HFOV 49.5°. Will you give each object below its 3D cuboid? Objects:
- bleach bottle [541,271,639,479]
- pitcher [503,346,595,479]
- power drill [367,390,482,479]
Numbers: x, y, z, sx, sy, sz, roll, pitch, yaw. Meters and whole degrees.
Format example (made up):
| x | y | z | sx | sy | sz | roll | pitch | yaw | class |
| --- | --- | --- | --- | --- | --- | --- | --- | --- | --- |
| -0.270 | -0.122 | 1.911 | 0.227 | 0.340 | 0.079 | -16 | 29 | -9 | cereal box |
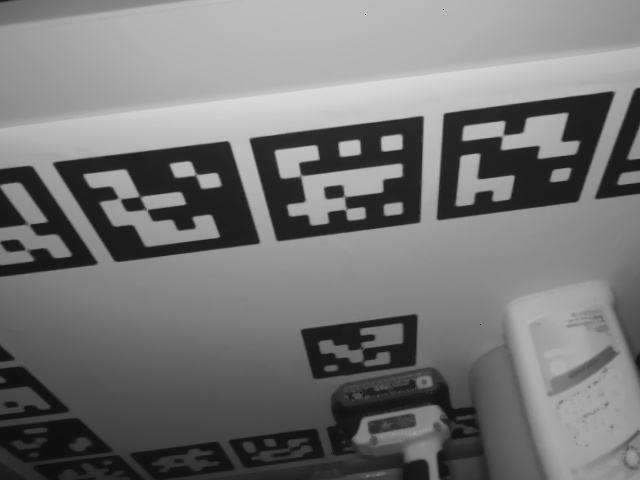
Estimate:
| x | y | z | sx | sy | sz | roll | pitch | yaw | class |
| --- | --- | --- | --- | --- | --- | --- | --- | --- | --- |
| 0.241 | 0.144 | 0.492 | 0.102 | 0.252 | 0.068 | -16 | 137 | 9 | bleach bottle |
| 0.246 | 0.196 | 0.582 | 0.186 | 0.244 | 0.134 | -30 | 132 | 23 | pitcher |
| 0.084 | 0.231 | 0.609 | 0.183 | 0.188 | 0.057 | -10 | 135 | 11 | power drill |
